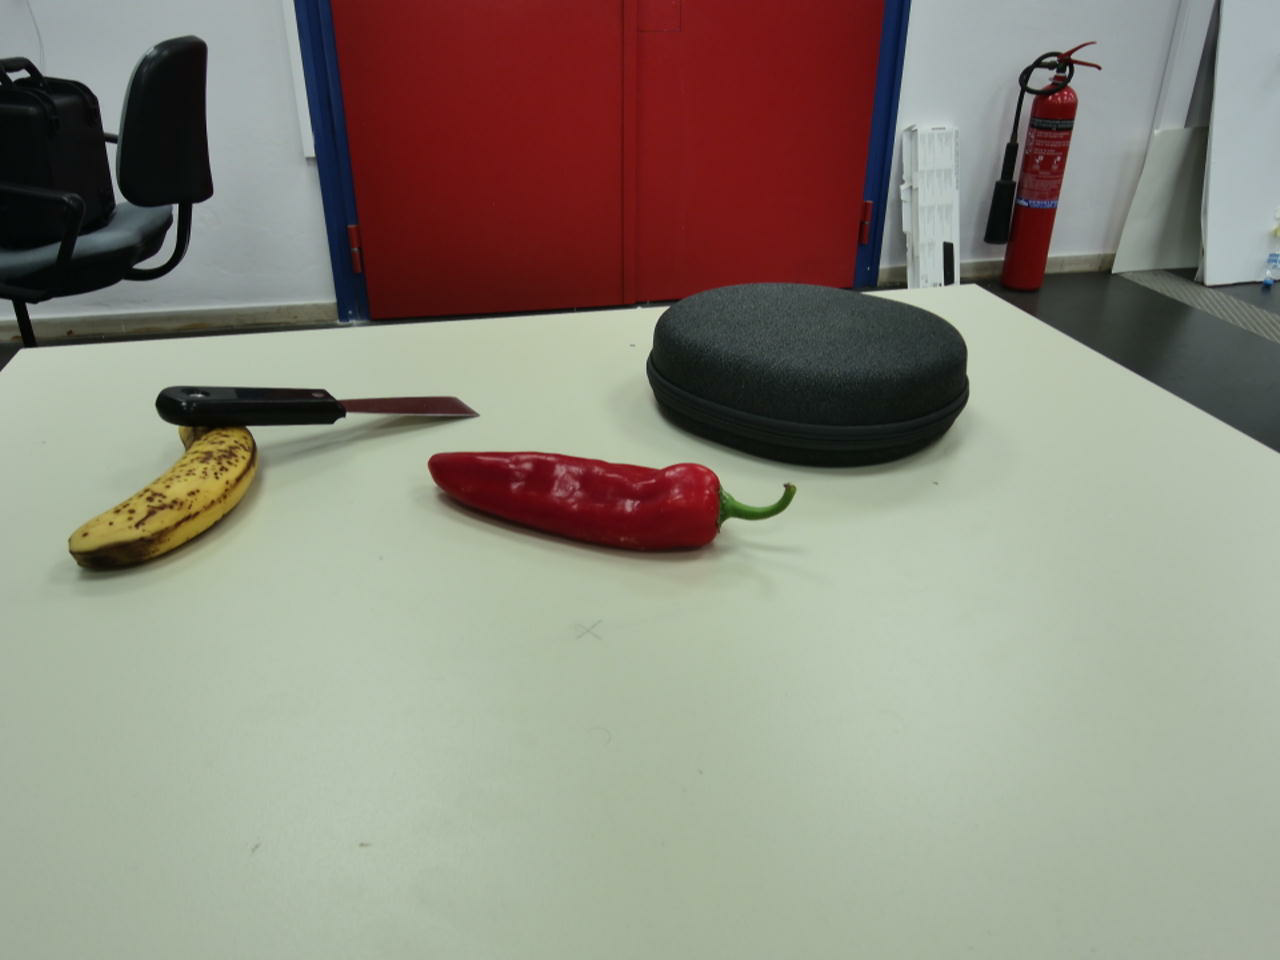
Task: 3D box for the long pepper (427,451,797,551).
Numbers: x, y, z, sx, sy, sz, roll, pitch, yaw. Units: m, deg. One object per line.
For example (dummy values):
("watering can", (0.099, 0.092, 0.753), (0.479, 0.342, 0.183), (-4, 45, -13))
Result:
("long pepper", (-0.025, 0.007, 0.529), (0.211, 0.043, 0.050), (9, 27, 17))
